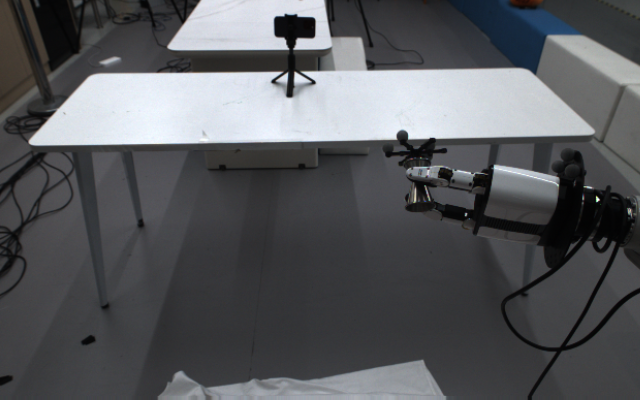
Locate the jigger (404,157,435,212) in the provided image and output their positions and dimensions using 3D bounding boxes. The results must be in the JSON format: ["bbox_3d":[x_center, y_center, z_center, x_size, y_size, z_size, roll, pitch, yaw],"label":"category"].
[{"bbox_3d":[0.140,-0.024,0.686,0.043,0.043,0.071,1,70,-2],"label":"jigger"}]
